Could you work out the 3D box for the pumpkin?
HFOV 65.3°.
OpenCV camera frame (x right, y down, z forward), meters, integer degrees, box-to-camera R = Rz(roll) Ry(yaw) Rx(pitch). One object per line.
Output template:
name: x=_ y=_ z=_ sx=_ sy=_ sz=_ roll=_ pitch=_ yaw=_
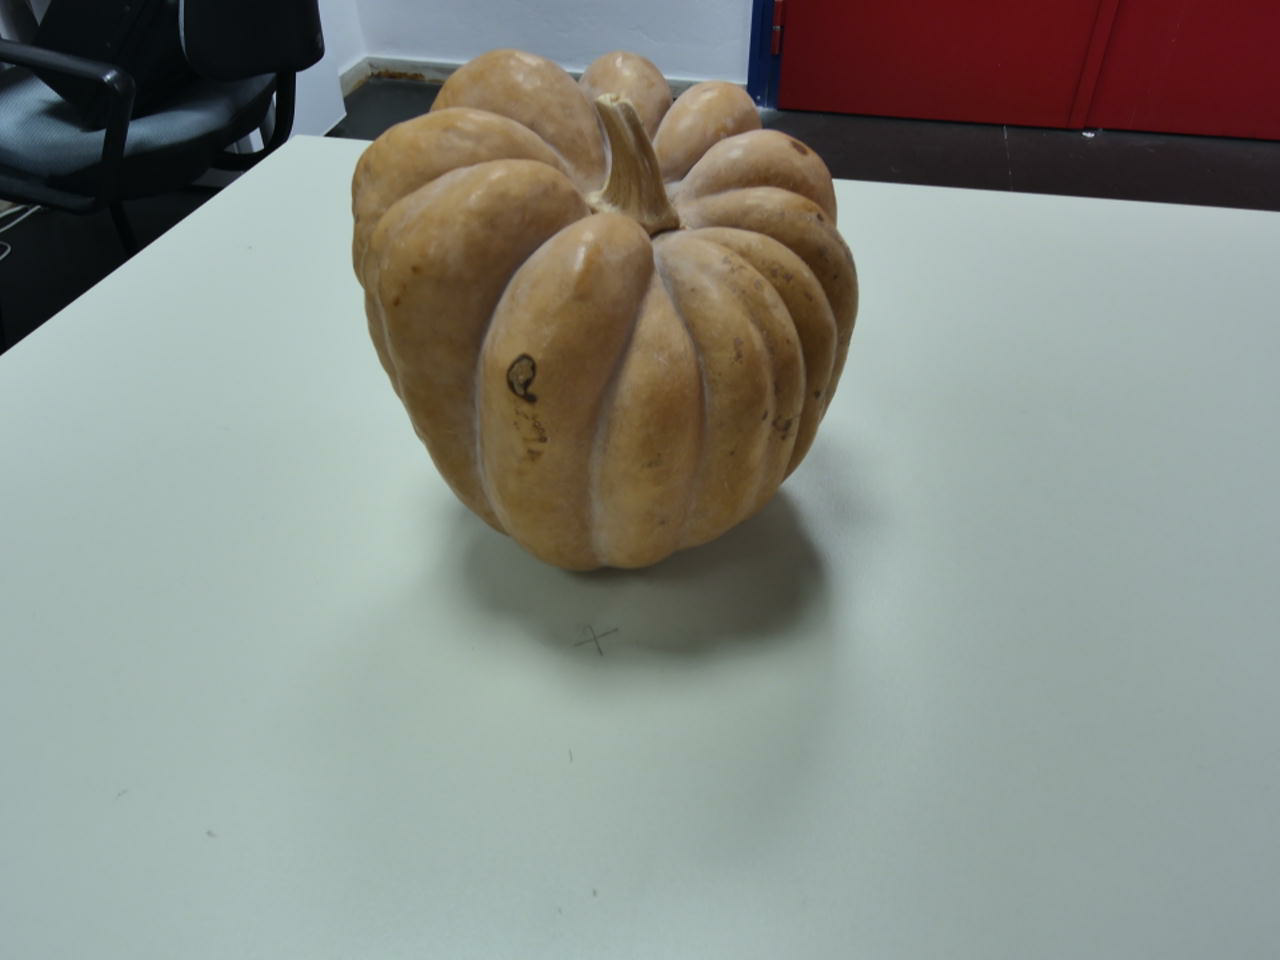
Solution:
pumpkin: x=-0.013 y=-0.064 z=0.388 sx=0.199 sy=0.177 sz=0.198 roll=0 pitch=38 yaw=0
